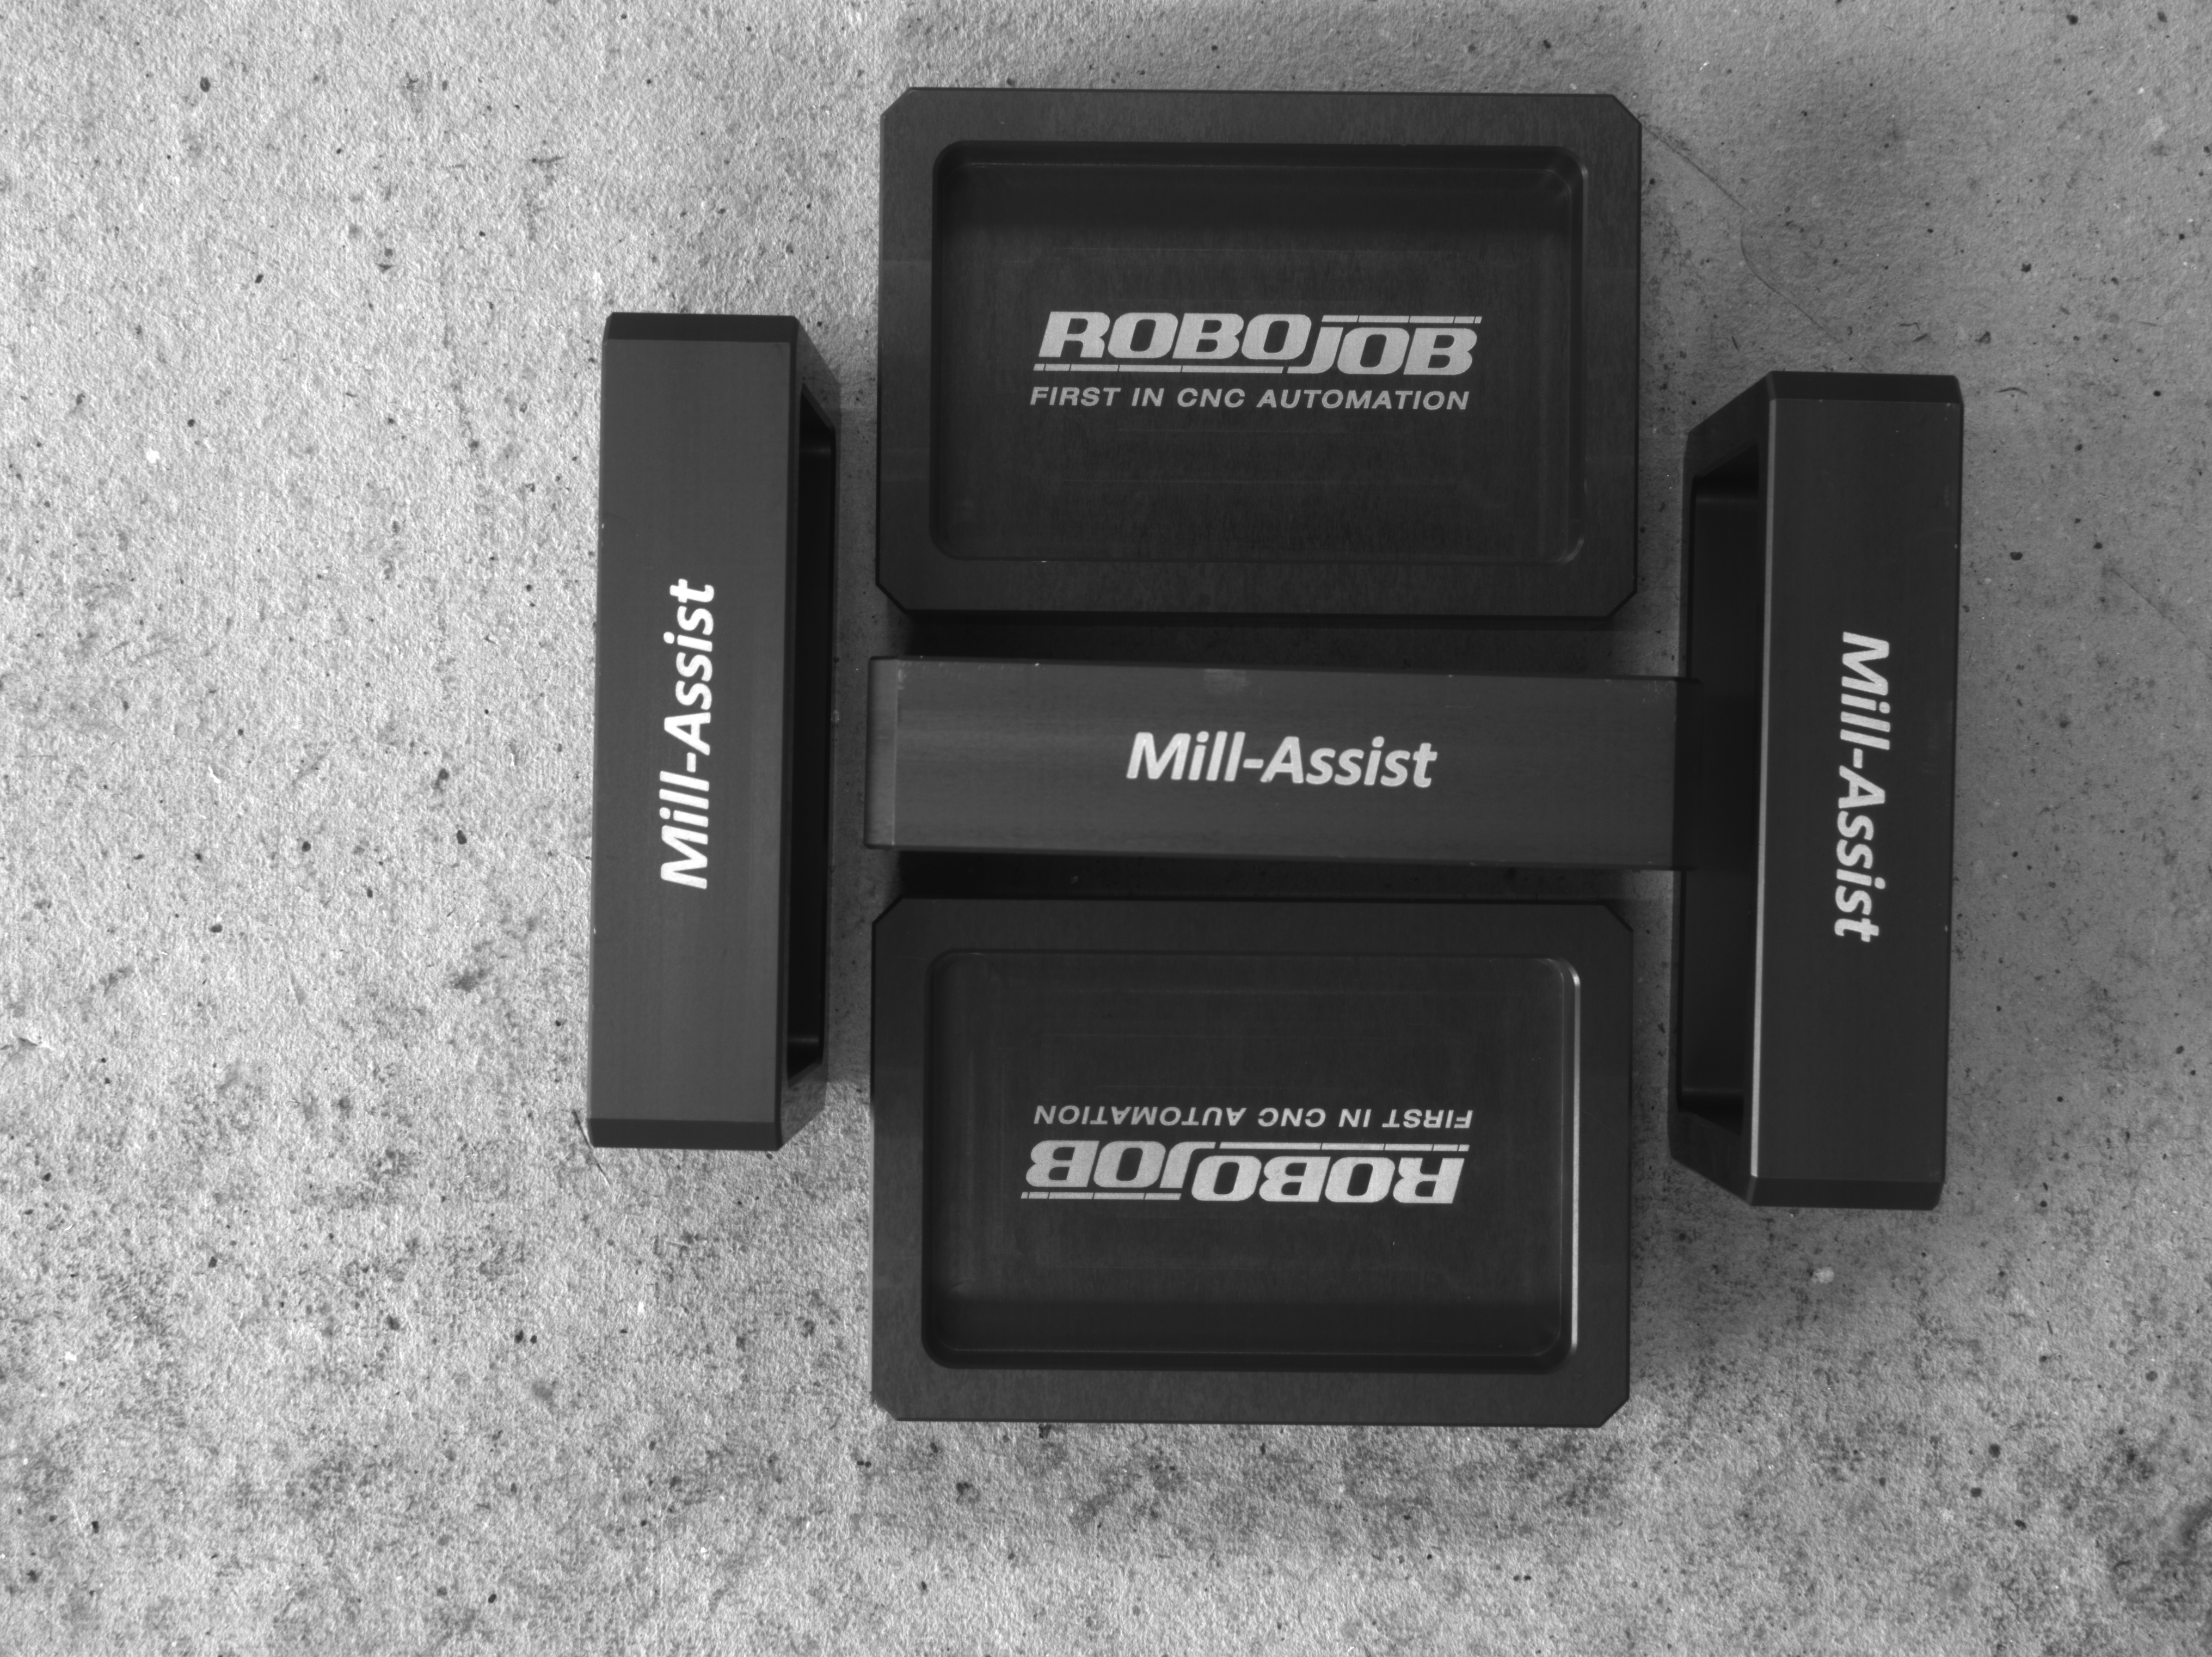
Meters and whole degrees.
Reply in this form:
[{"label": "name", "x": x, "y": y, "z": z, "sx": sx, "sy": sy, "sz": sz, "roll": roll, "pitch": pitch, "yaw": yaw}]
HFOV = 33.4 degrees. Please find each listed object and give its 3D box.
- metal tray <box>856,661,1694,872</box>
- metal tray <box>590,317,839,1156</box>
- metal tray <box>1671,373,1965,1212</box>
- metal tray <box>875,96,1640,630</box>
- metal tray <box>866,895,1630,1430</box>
[{"label": "metal tray", "x": 0.027, "y": -0.010, "z": 0.615, "sx": 0.130, "sy": 0.090, "sz": 0.030, "roll": 1, "pitch": 91, "yaw": 0}, {"label": "metal tray", "x": -0.064, "y": -0.014, "z": 0.614, "sx": 0.030, "sy": 0.090, "sz": 0.130, "roll": 1, "pitch": 90, "yaw": 0}, {"label": "metal tray", "x": 0.117, "y": -0.005, "z": 0.613, "sx": 0.030, "sy": 0.090, "sz": 0.130, "roll": 1, "pitch": 90, "yaw": 0}, {"label": "metal tray", "x": 0.026, "y": -0.080, "z": 0.644, "sx": 0.130, "sy": 0.030, "sz": 0.090, "roll": 0, "pitch": 93, "yaw": 0}, {"label": "metal tray", "x": 0.024, "y": 0.057, "z": 0.645, "sx": 0.130, "sy": 0.030, "sz": 0.090, "roll": 1, "pitch": 89, "yaw": 0}]
